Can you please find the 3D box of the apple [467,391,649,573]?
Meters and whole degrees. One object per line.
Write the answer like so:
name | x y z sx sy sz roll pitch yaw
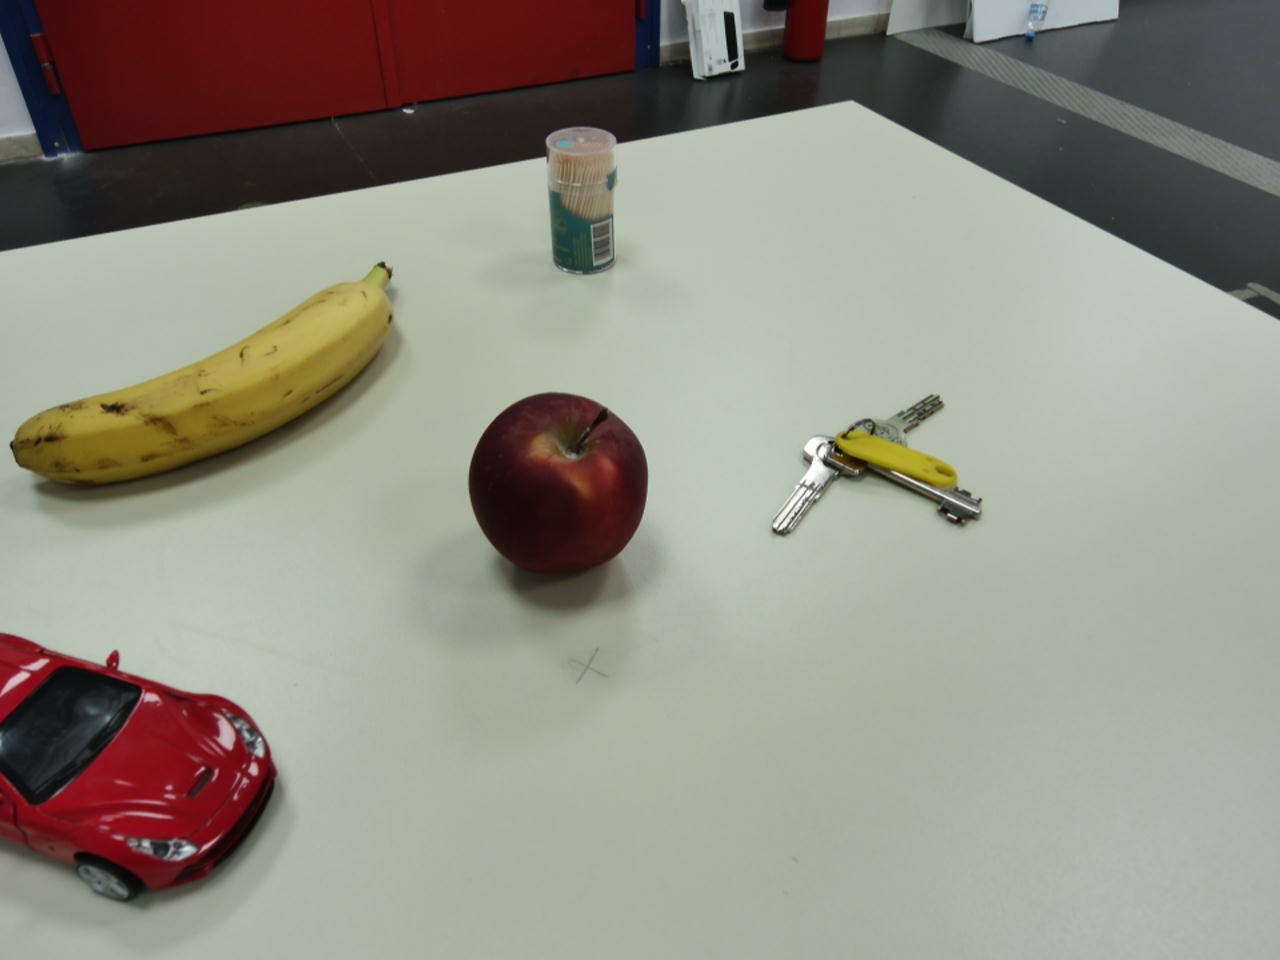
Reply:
apple | -0.031 0.002 0.386 0.070 0.072 0.070 0 38 0
